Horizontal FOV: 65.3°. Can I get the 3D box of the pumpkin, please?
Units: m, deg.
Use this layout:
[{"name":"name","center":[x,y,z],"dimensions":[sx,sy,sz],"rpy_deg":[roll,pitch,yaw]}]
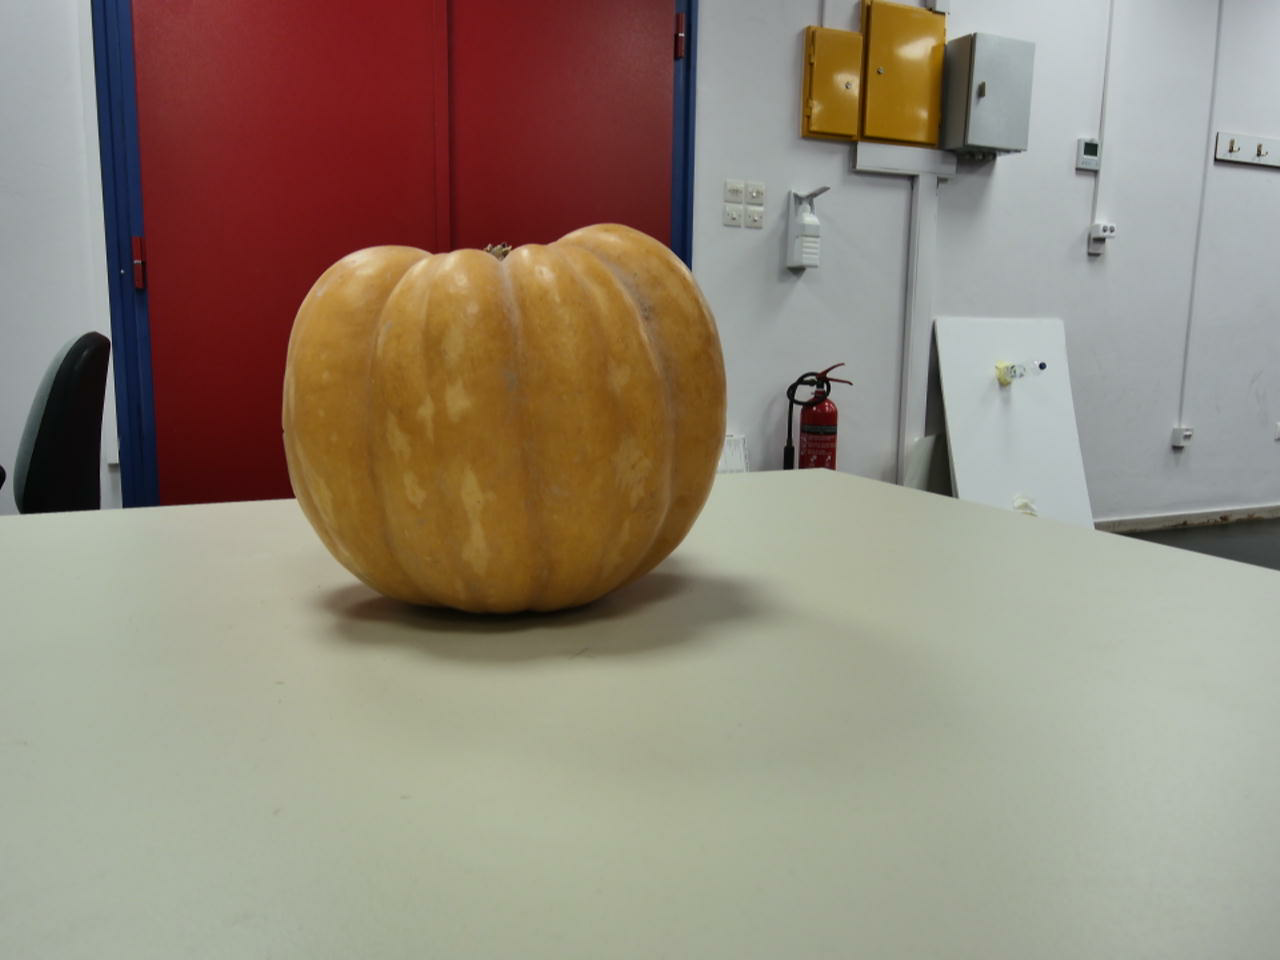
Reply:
[{"name":"pumpkin","center":[-0.065,-0.033,0.517],"dimensions":[0.230,0.194,0.230],"rpy_deg":[0,7,0]}]
